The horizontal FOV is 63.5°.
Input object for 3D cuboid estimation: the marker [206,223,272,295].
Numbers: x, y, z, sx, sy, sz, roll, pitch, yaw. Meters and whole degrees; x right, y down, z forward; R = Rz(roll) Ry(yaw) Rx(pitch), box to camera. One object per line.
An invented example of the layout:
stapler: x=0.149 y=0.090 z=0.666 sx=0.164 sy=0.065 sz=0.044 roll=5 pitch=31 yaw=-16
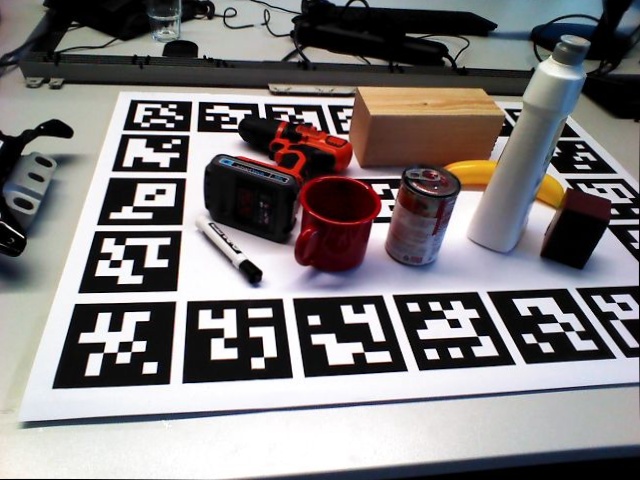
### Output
marker: x=-0.093 y=0.021 z=0.587 sx=0.019 sy=0.020 sz=0.121 roll=-25 pitch=50 yaw=-29

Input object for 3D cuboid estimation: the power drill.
power drill: x=-0.043 y=-0.089 z=0.698 sx=0.185 sy=0.057 sz=0.185 roll=20 pitch=41 yaw=11

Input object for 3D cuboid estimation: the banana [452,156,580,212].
banana: x=0.269 y=-0.088 z=0.740 sx=0.198 sy=0.039 sz=0.074 roll=11 pitch=54 yaw=2

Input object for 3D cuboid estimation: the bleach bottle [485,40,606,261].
bleach bottle: x=0.258 y=-0.099 z=0.591 sx=0.068 sy=0.252 sz=0.102 roll=18 pitch=41 yaw=14

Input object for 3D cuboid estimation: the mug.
mug: x=0.025 y=-0.009 z=0.584 sx=0.093 sy=0.082 sz=0.116 roll=30 pitch=49 yaw=22

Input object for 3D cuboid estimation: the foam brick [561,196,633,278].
foam brick: x=0.334 y=-0.004 z=0.626 sx=0.053 sy=0.078 sz=0.051 roll=20 pitch=40 yaw=18

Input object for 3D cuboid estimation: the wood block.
wood block: x=0.180 y=-0.161 z=0.780 sx=0.206 sy=0.091 sz=0.089 roll=-2 pitch=42 yaw=-9

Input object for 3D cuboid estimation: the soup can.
soup can: x=0.132 y=-0.025 z=0.594 sx=0.068 sy=0.102 sz=0.067 roll=5 pitch=36 yaw=-4
